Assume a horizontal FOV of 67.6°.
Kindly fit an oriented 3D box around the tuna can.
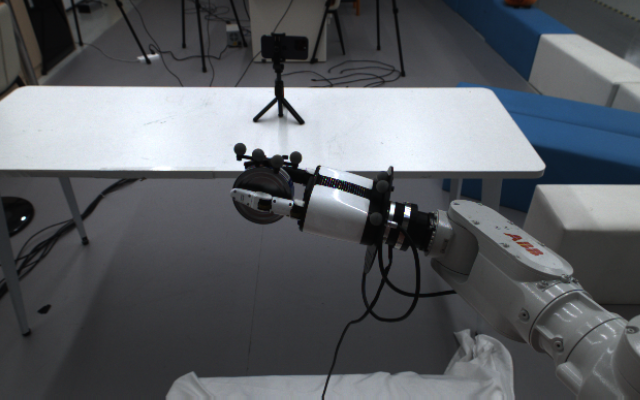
[{"bbox_3d":[-0.080,-0.011,0.695,0.085,0.085,0.034,5,18,5],"label":"tuna can"}]
